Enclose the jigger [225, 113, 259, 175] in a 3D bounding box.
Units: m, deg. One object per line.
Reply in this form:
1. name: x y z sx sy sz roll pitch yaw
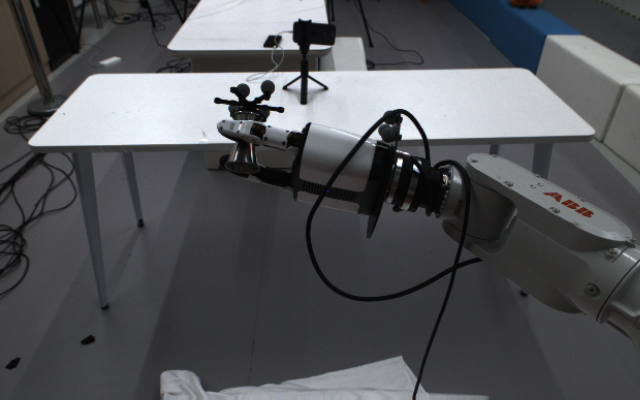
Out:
1. jigger: -0.095 -0.072 0.609 0.043 0.043 0.071 3 75 2
